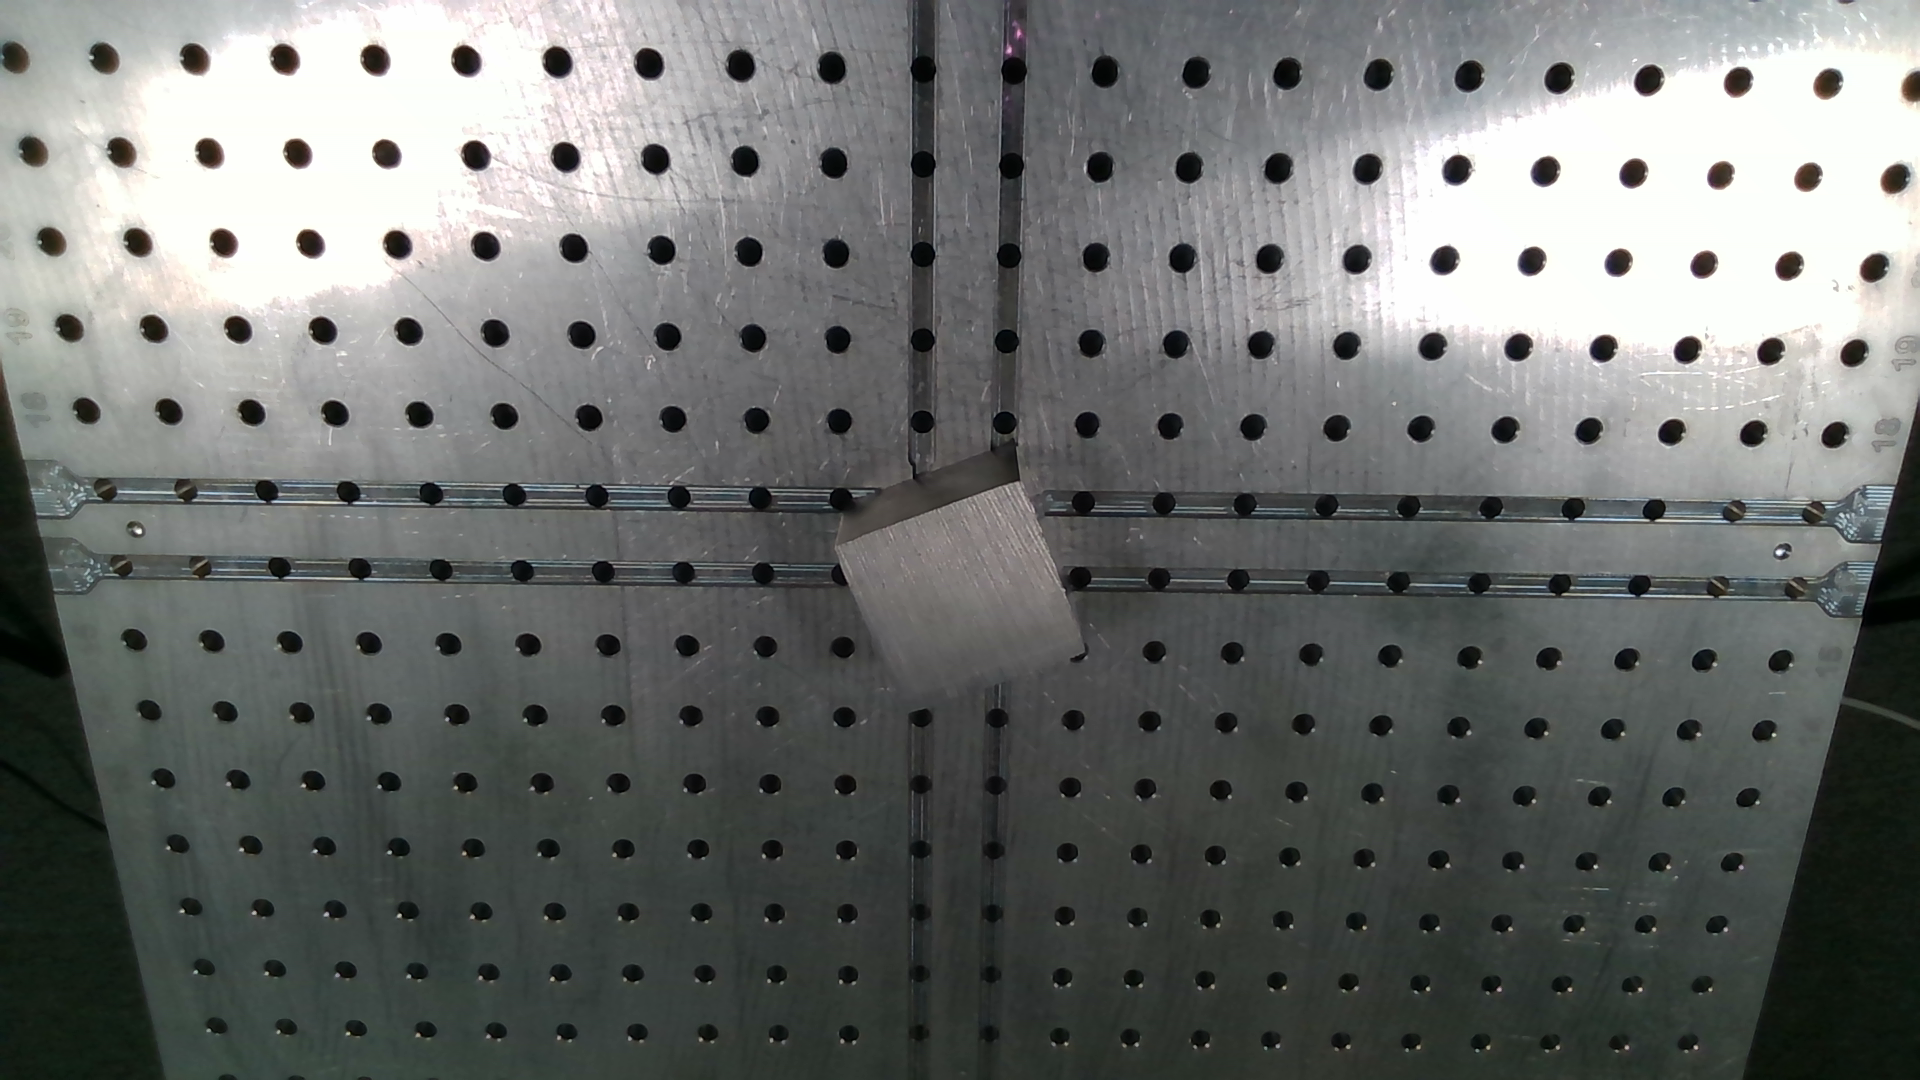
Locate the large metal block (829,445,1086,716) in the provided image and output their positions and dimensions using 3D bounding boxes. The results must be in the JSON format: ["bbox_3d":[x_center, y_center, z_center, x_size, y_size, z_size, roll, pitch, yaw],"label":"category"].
[{"bbox_3d":[0.000,0.016,0.577,0.080,0.050,0.080,-20,109,7],"label":"large metal block"}]
